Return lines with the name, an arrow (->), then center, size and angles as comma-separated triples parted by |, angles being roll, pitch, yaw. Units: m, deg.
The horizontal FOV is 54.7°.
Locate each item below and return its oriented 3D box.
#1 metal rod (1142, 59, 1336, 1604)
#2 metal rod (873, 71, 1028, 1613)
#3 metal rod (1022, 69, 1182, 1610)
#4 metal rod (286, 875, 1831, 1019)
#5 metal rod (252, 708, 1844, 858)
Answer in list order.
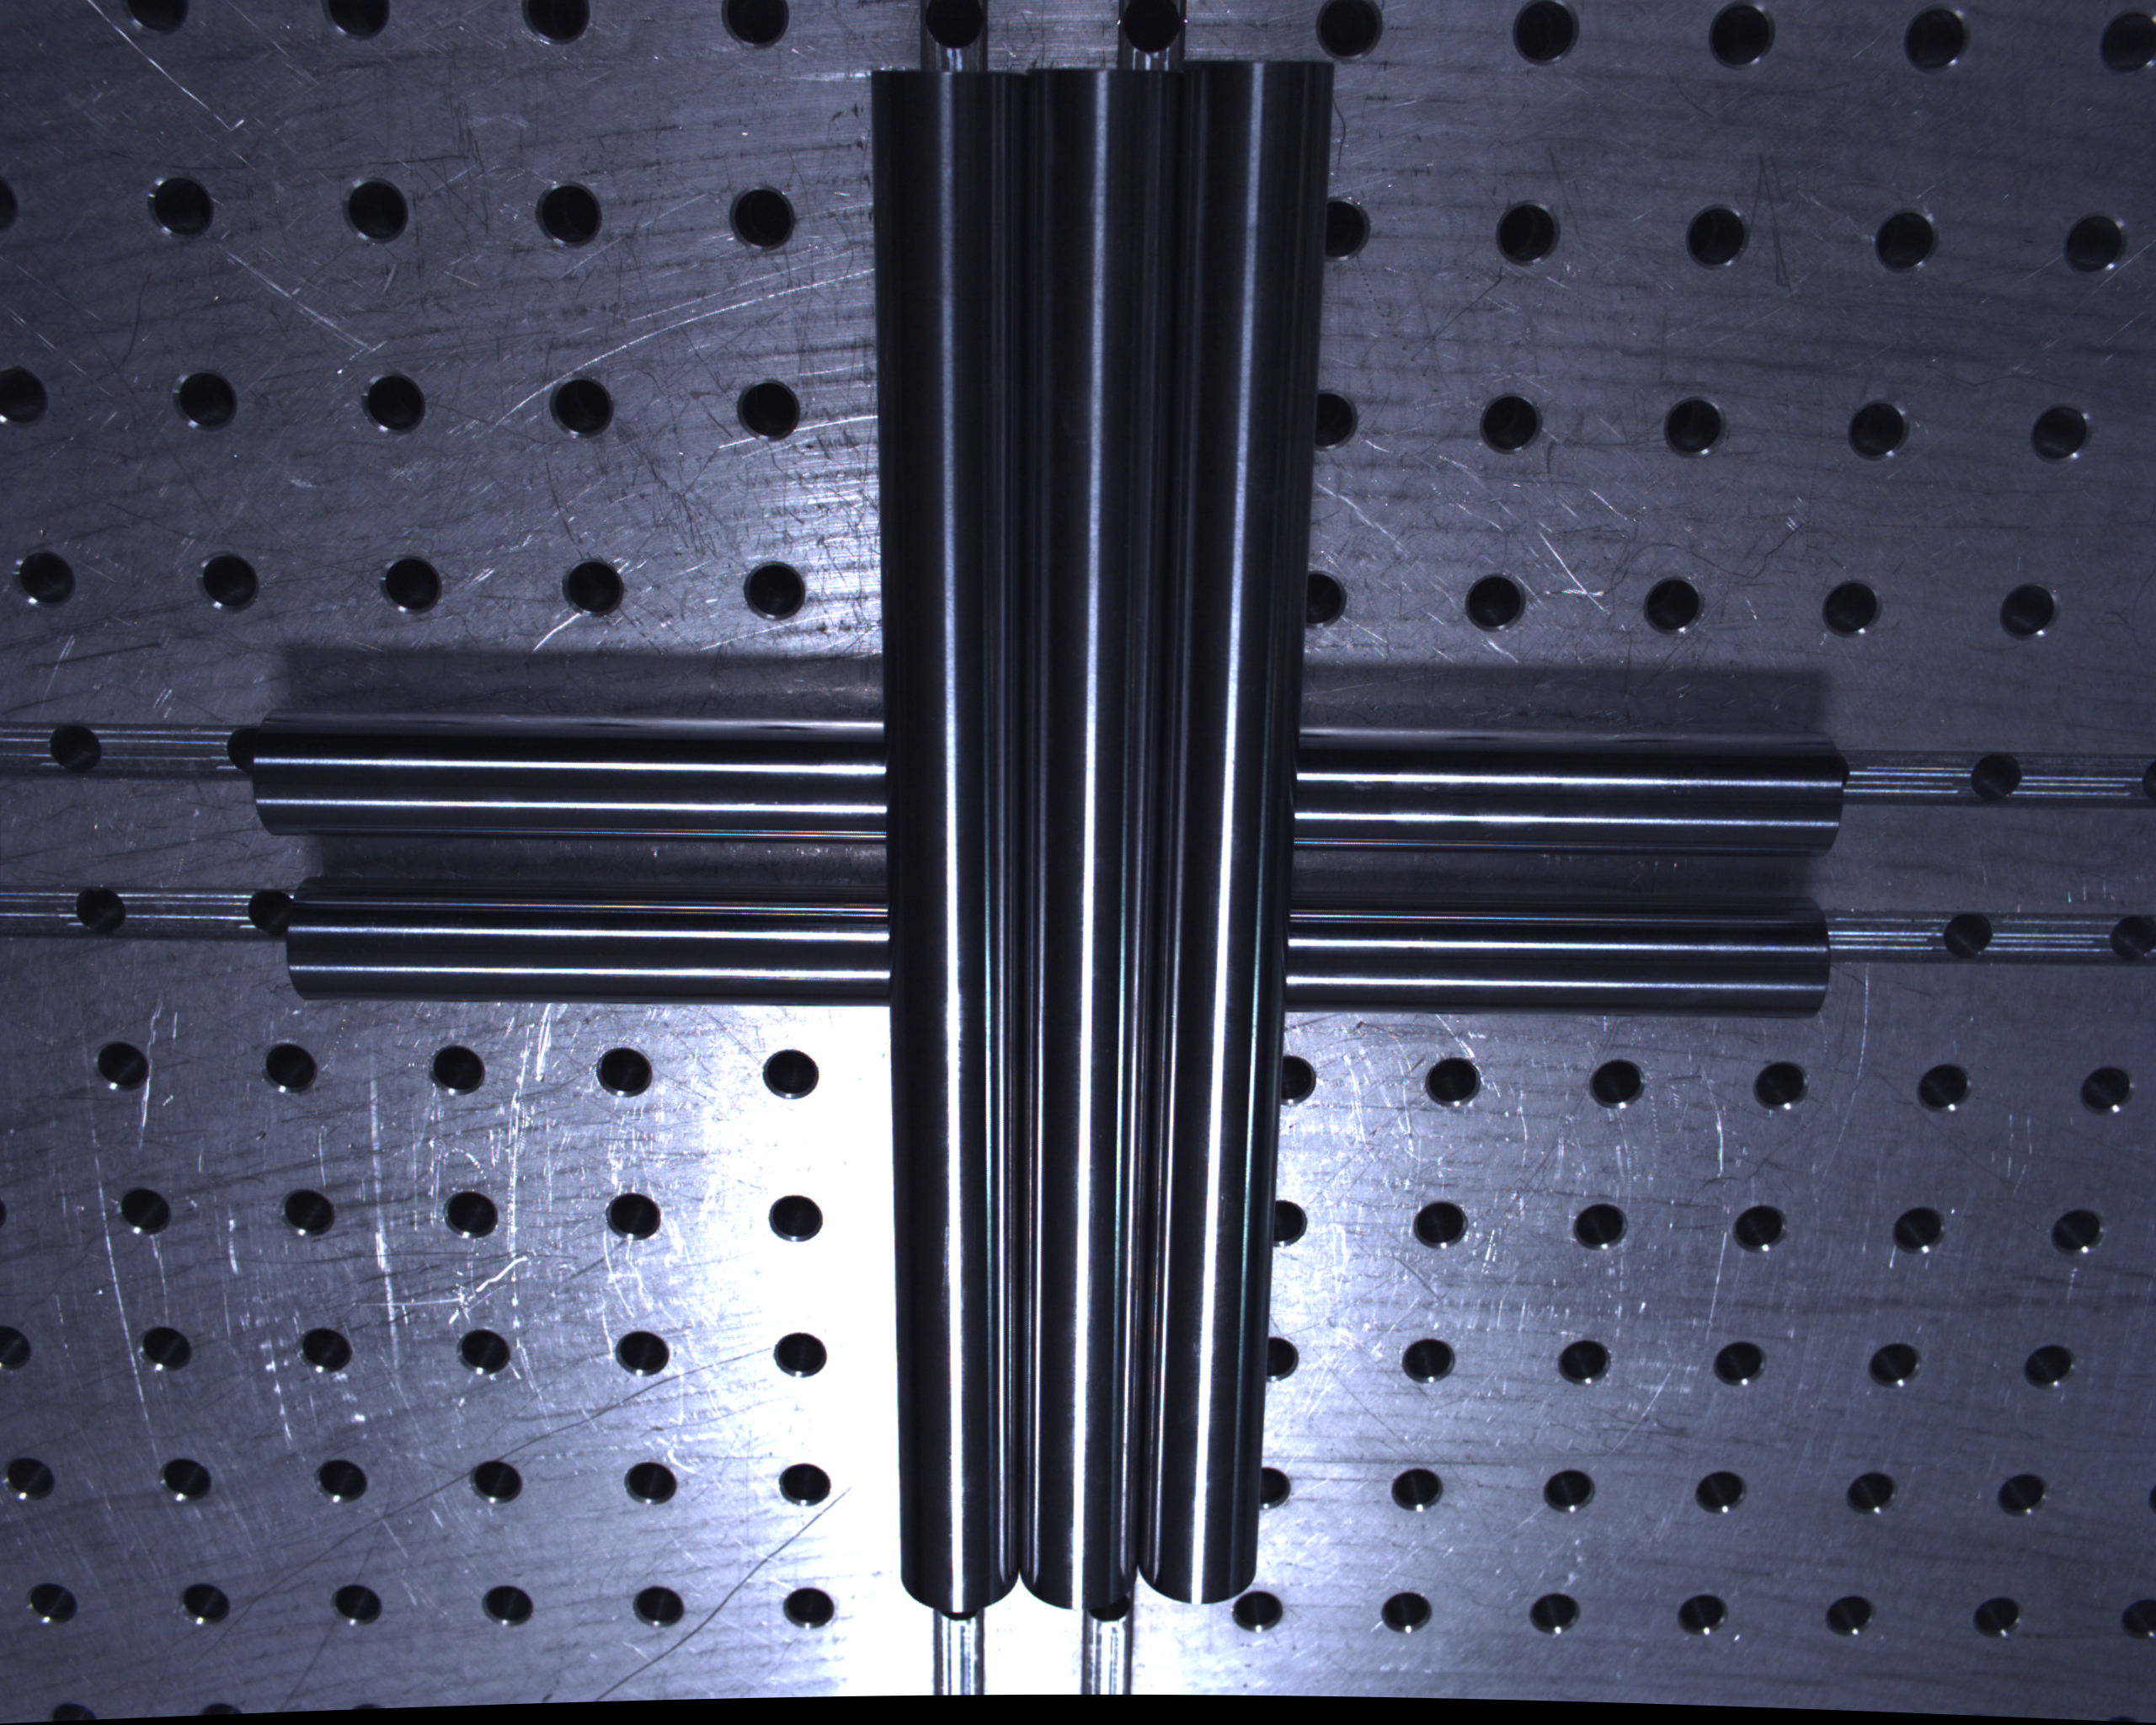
metal rod -> 0.028, 0.009, 0.391 | 0.025, 0.025, 0.298 | 0, 110, -1
metal rod -> -0.023, 0.011, 0.391 | 0.025, 0.025, 0.298 | 0, 110, -1
metal rod -> 0.002, 0.011, 0.391 | 0.025, 0.025, 0.298 | 0, 110, -1
metal rod -> -0.003, 0.017, 0.420 | 0.302, 0.025, 0.025 | 1, 110, -1
metal rod -> -0.005, -0.015, 0.408 | 0.302, 0.025, 0.025 | 1, 110, -1
